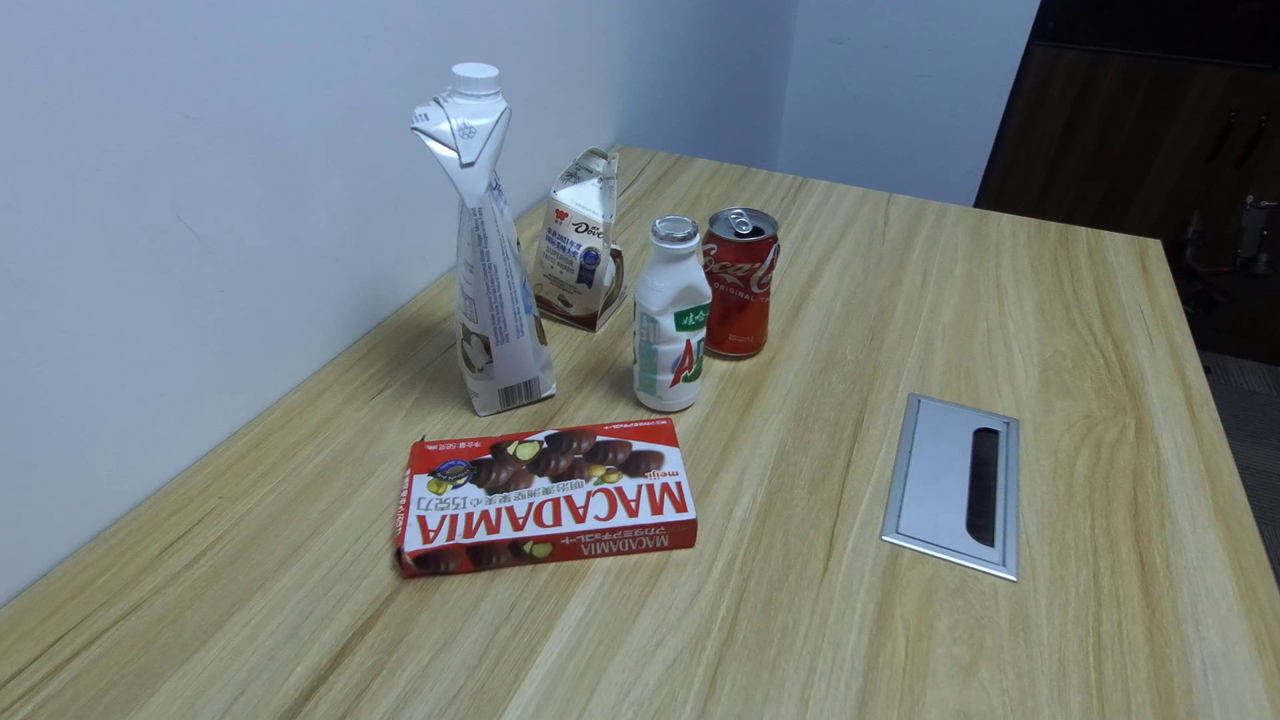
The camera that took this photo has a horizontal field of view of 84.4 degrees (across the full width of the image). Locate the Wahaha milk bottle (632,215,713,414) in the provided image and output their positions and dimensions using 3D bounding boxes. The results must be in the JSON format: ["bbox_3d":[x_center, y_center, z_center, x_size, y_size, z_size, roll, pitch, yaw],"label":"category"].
[{"bbox_3d":[0.022,-0.031,0.509,0.056,0.148,0.056,2,37,-1],"label":"Wahaha milk bottle"}]

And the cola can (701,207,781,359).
[{"bbox_3d":[0.081,-0.064,0.589,0.066,0.117,0.066,13,39,16],"label":"cola can"}]

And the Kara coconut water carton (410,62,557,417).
[{"bbox_3d":[-0.108,-0.077,0.498,0.069,0.239,0.114,-14,36,-16],"label":"Kara coconut water carton"}]

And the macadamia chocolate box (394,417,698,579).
[{"bbox_3d":[-0.061,0.085,0.461,0.183,0.028,0.105,-5,37,-7],"label":"macadamia chocolate box"}]

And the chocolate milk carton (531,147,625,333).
[{"bbox_3d":[-0.046,-0.111,0.620,0.076,0.155,0.089,16,24,13],"label":"chocolate milk carton"}]
